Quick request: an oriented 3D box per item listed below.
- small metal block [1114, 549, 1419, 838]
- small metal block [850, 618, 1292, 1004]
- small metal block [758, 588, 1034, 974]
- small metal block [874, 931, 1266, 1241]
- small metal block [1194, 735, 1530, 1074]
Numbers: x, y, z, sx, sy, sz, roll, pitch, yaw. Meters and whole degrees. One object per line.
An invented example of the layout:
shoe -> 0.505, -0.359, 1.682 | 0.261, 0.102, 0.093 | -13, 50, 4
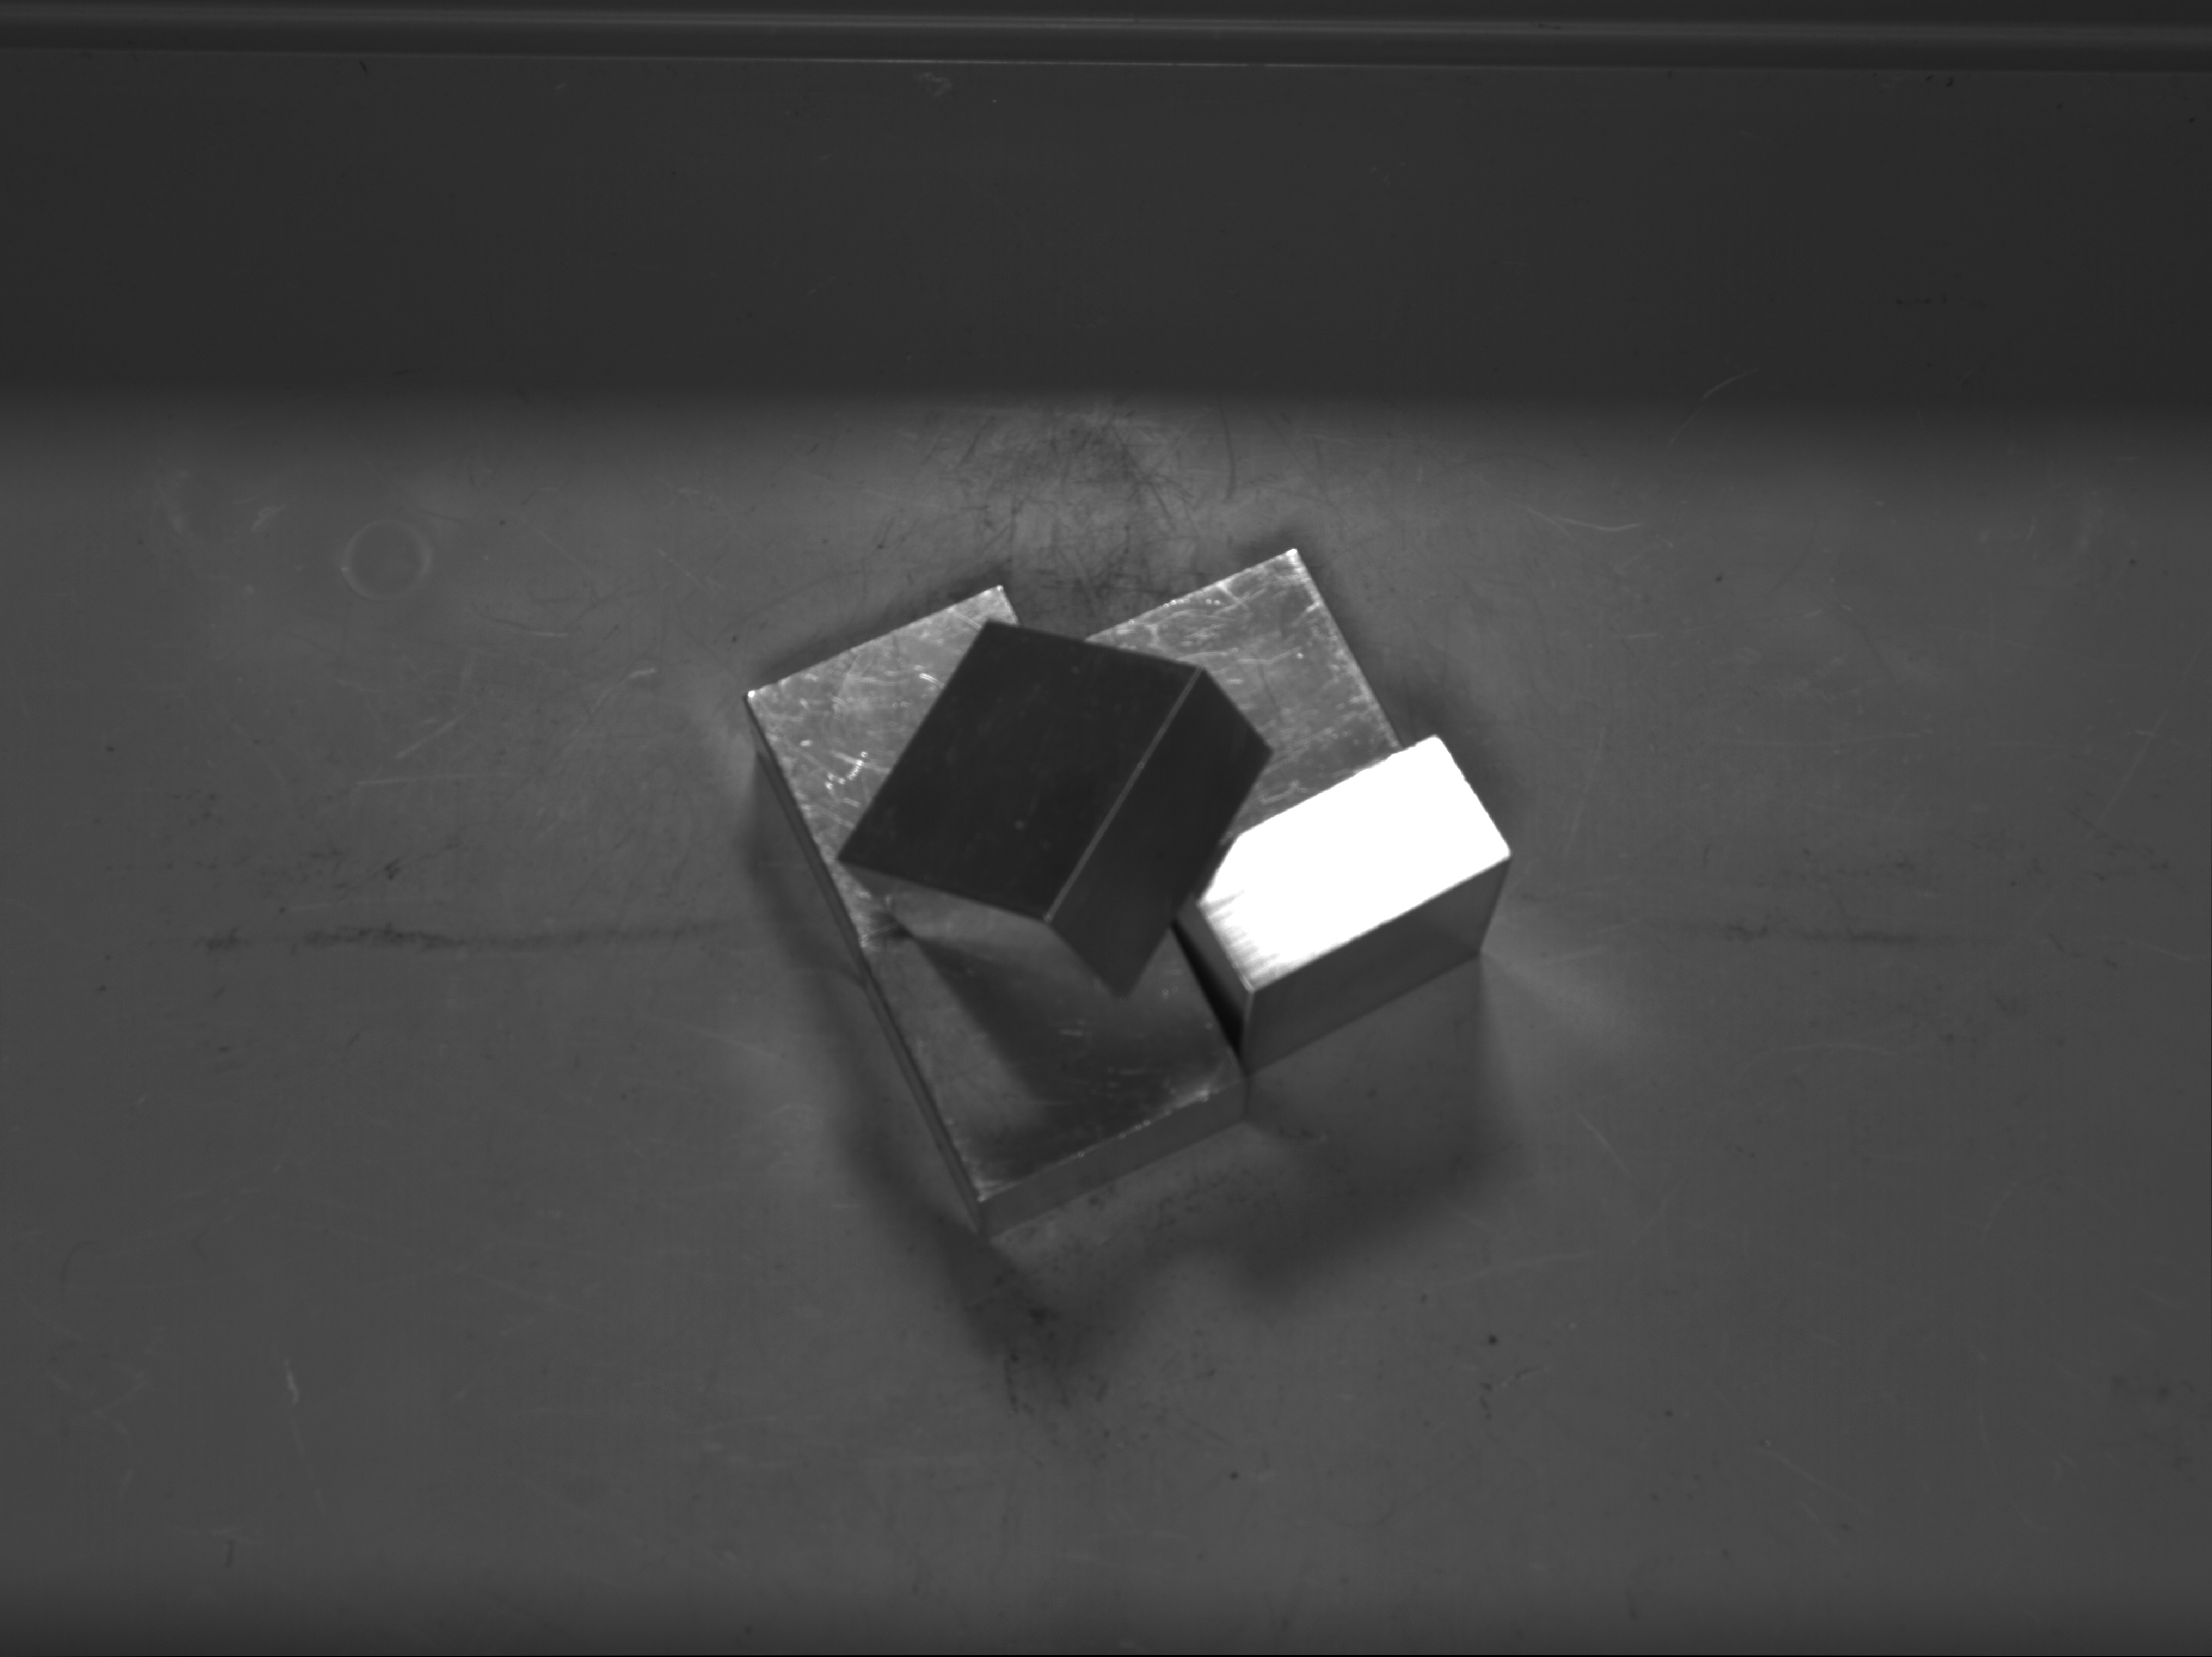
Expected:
small metal block -> 0.025, -0.014, 0.649 | 0.050, 0.025, 0.050 | -24, 72, -8
small metal block -> -0.006, -0.004, 0.605 | 0.050, 0.025, 0.050 | 15, 66, 42
small metal block -> -0.027, -0.007, 0.646 | 0.050, 0.025, 0.050 | -24, 72, -8
small metal block -> -0.006, 0.036, 0.631 | 0.050, 0.025, 0.050 | -24, 72, -8
small metal block -> 0.042, 0.015, 0.625 | 0.050, 0.050, 0.025 | -27, 72, -10
